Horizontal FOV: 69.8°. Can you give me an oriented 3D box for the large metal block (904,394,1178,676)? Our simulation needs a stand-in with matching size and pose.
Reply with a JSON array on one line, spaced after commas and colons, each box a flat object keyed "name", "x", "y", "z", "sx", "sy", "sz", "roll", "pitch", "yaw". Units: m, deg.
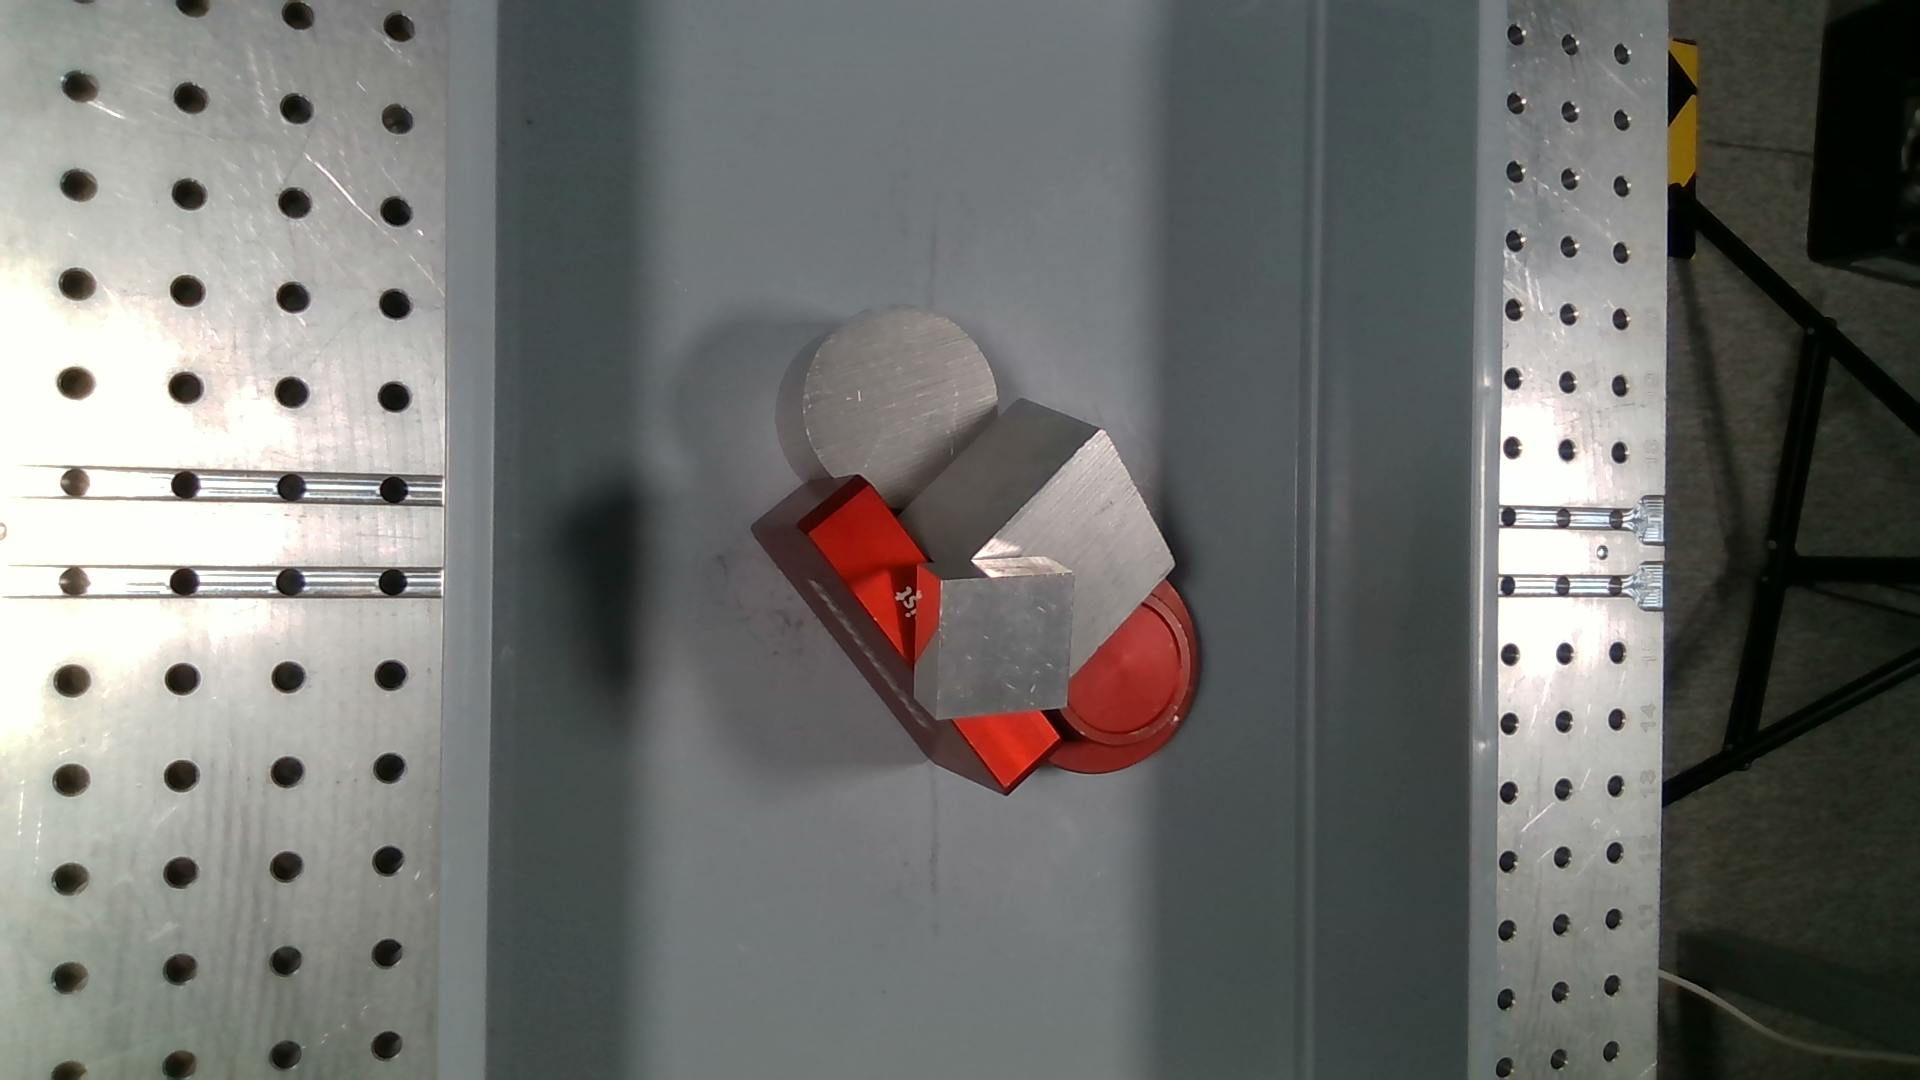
[{"name": "large metal block", "x": 0.029, "y": 0.003, "z": 0.544, "sx": 0.080, "sy": 0.050, "sz": 0.080, "roll": -46, "pitch": 129, "yaw": -15}]

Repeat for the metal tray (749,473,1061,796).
[{"name": "metal tray", "x": -0.024, "y": 0.036, "z": 0.541, "sx": 0.030, "sy": 0.090, "sz": 0.130, "roll": -40, "pitch": 103, "yaw": -17}]

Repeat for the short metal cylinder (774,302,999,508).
[{"name": "short metal cylinder", "x": -0.031, "y": -0.053, "z": 0.559, "sx": 0.080, "sy": 0.050, "sz": 0.080, "roll": 0, "pitch": 90, "yaw": -20}]

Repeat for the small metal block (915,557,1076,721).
[{"name": "small metal block", "x": 0.012, "y": 0.034, "z": 0.487, "sx": 0.050, "sy": 0.025, "sz": 0.050, "roll": -3, "pitch": 104, "yaw": -21}]

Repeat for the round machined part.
[{"name": "round machined part", "x": 0.061, "y": 0.052, "z": 0.598, "sx": 0.098, "sy": 0.042, "sz": 0.098, "roll": 0, "pitch": 90, "yaw": -20}]
